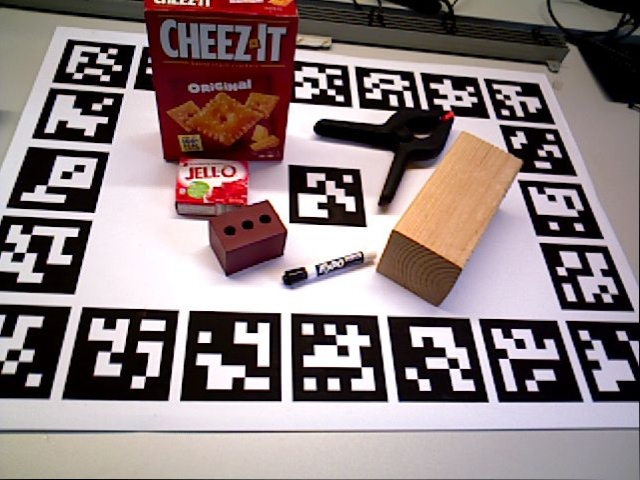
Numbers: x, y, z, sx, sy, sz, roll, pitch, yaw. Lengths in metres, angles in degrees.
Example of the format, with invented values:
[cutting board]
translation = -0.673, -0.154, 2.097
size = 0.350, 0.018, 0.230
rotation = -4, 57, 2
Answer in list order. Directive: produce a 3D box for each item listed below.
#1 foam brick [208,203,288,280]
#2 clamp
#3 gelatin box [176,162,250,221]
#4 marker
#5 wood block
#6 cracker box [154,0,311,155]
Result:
[foam brick]
translation = -0.085, 0.001, 0.624
size = 0.077, 0.052, 0.052
rotation = -20, 64, -21
[clamp]
translation = 0.114, -0.139, 0.757
size = 0.199, 0.037, 0.165
rotation = -26, 65, -23
[gelatin box]
translation = -0.131, -0.060, 0.674
size = 0.088, 0.031, 0.072
rotation = 1, 59, -8
[marker]
translation = 0.003, 0.039, 0.632
size = 0.119, 0.020, 0.019
rotation = -15, 62, -18
[wood block]
translation = 0.163, -0.026, 0.662
size = 0.090, 0.093, 0.201
rotation = 30, 55, 14
[cracker box]
translation = -0.108, -0.199, 0.646
size = 0.162, 0.219, 0.071
rotation = 0, 55, -12
